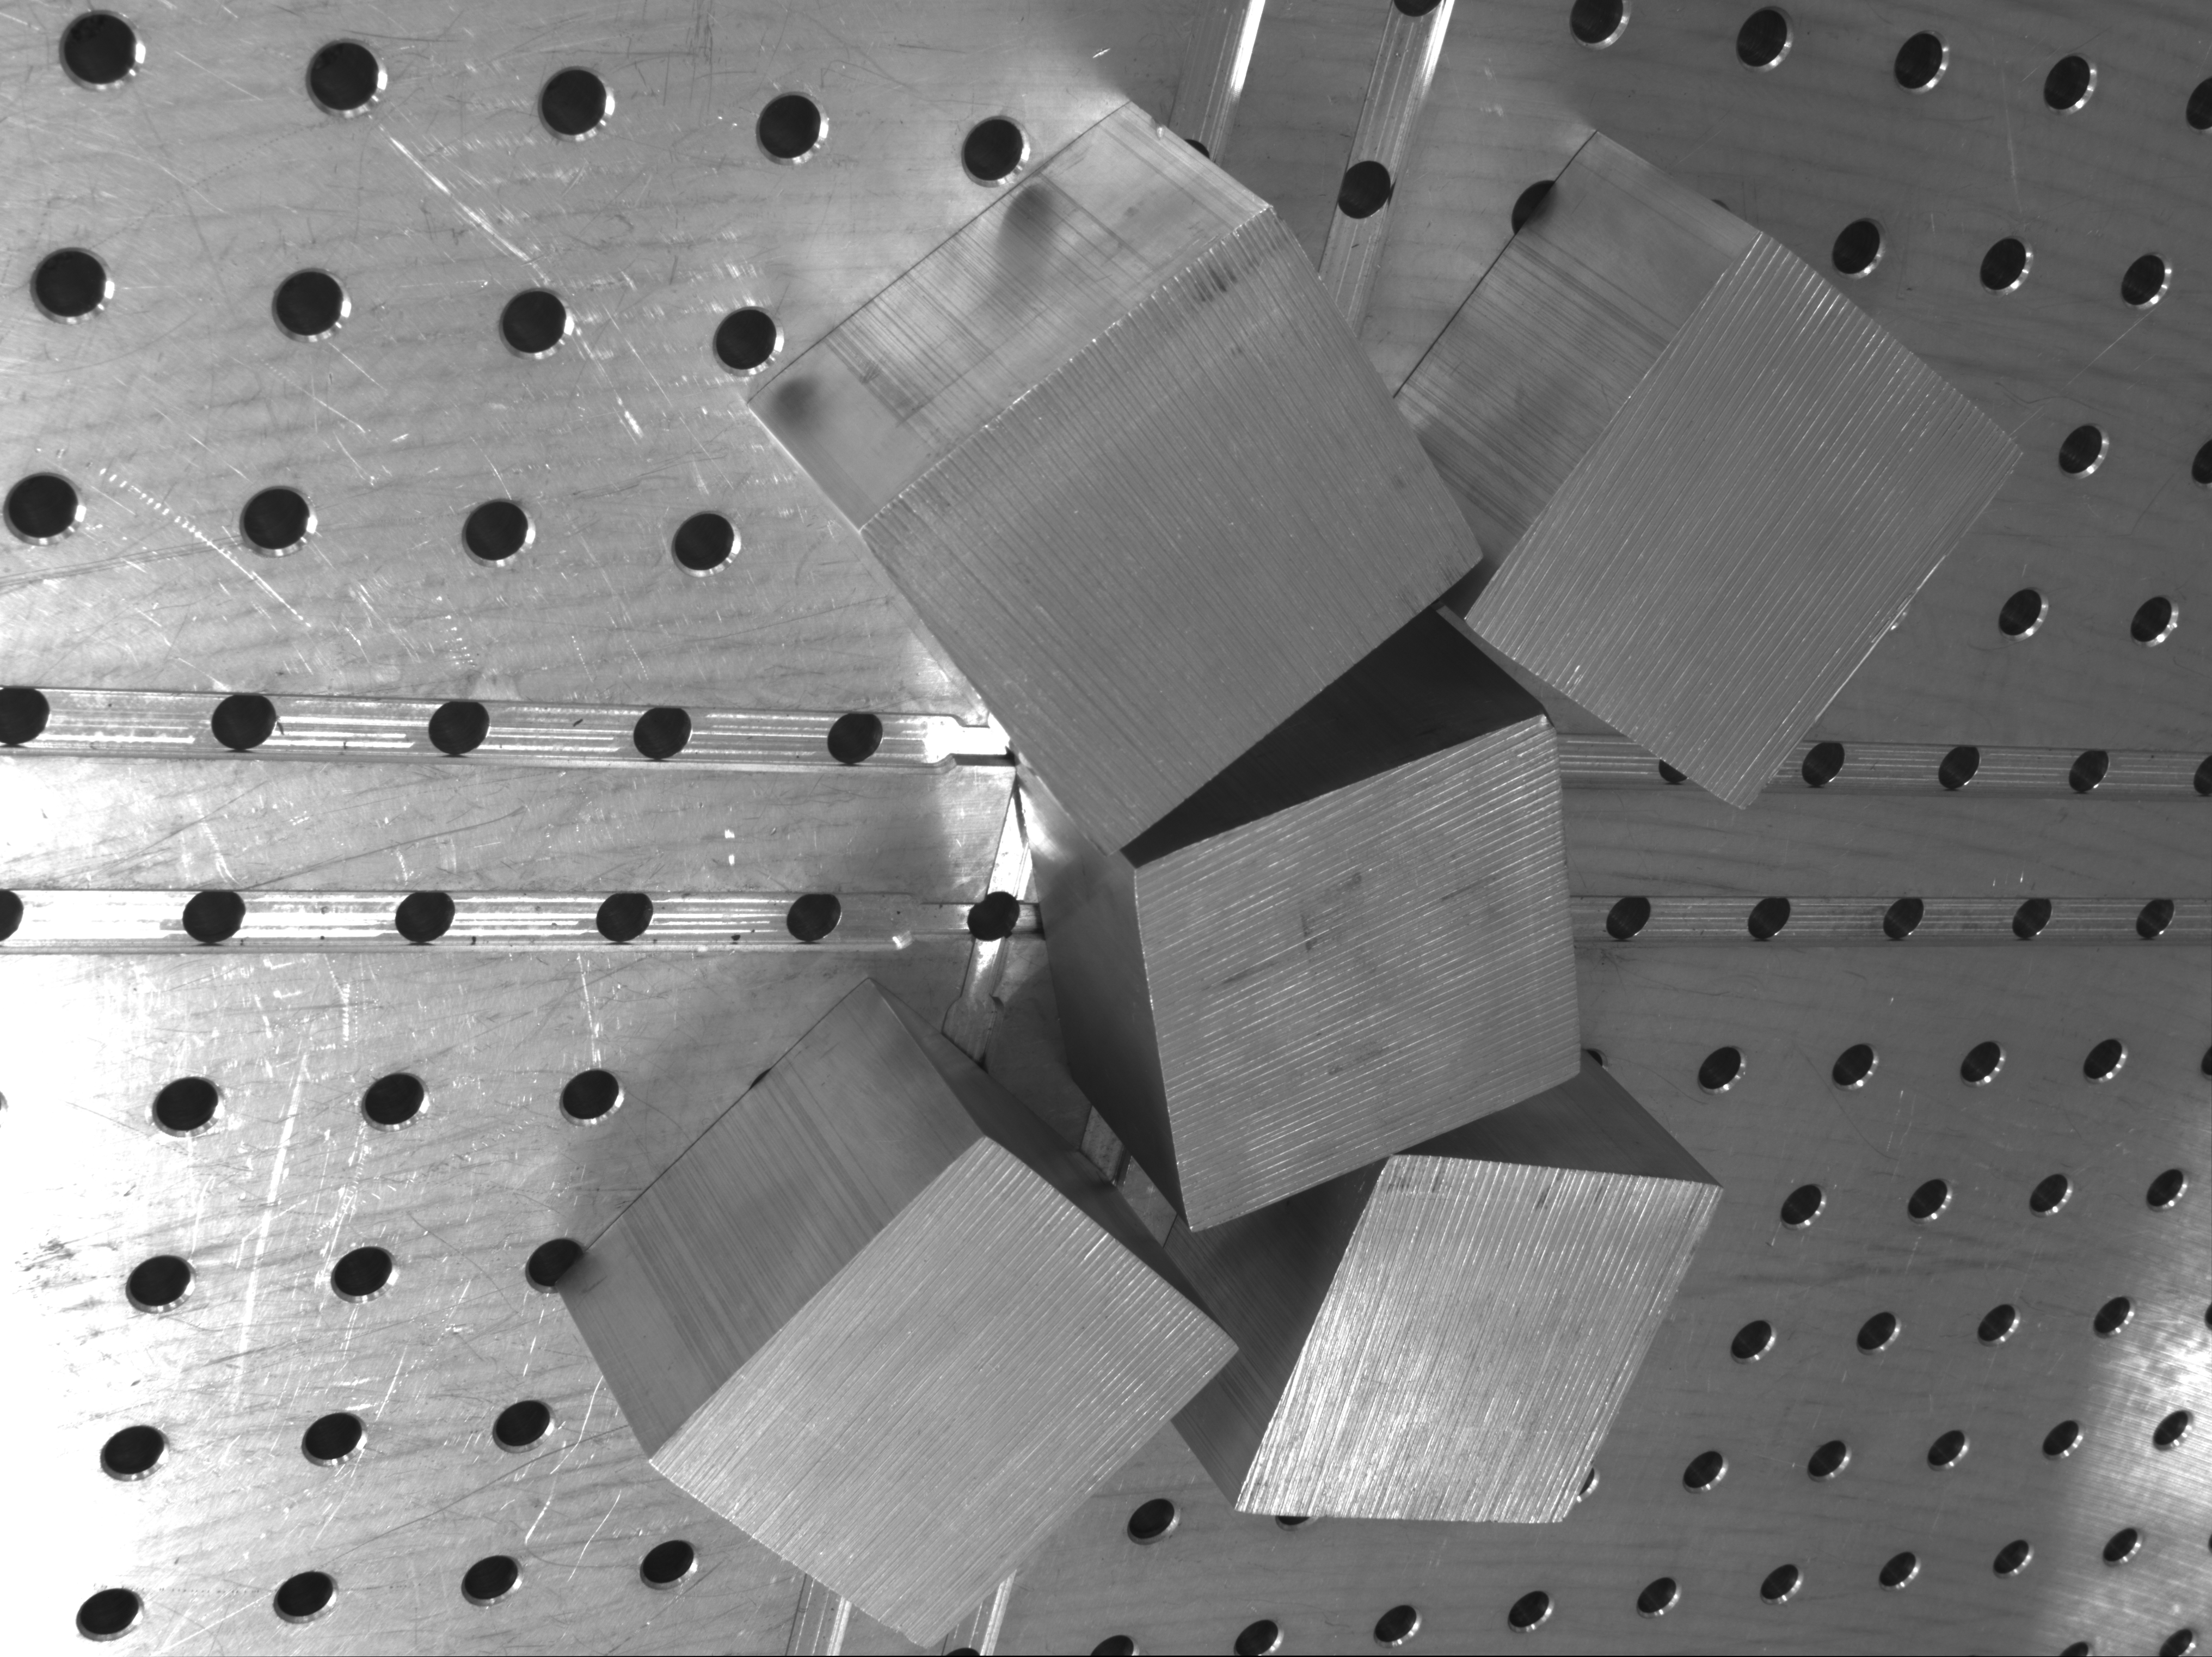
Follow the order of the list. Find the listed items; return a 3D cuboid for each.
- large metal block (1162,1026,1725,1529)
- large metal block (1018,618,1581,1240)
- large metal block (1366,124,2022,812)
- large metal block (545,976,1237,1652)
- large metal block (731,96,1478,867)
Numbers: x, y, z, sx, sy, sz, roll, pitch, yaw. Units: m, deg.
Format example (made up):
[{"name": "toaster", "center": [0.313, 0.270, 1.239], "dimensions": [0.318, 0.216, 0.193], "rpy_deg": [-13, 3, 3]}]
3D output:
[{"name": "large metal block", "center": [0.060, 0.086, 0.709], "dimensions": [0.080, 0.050, 0.080], "rpy_deg": [9, 113, -32]}, {"name": "large metal block", "center": [0.034, 0.014, 0.651], "dimensions": [0.080, 0.050, 0.080], "rpy_deg": [-21, 126, -16]}, {"name": "large metal block", "center": [0.098, -0.061, 0.639], "dimensions": [0.080, 0.050, 0.080], "rpy_deg": [28, 103, -40]}, {"name": "large metal block", "center": [-0.038, 0.087, 0.655], "dimensions": [0.080, 0.050, 0.080], "rpy_deg": [-45, 129, 2]}, {"name": "large metal block", "center": [0.000, -0.055, 0.591], "dimensions": [0.080, 0.050, 0.080], "rpy_deg": [-38, 128, -2]}]
